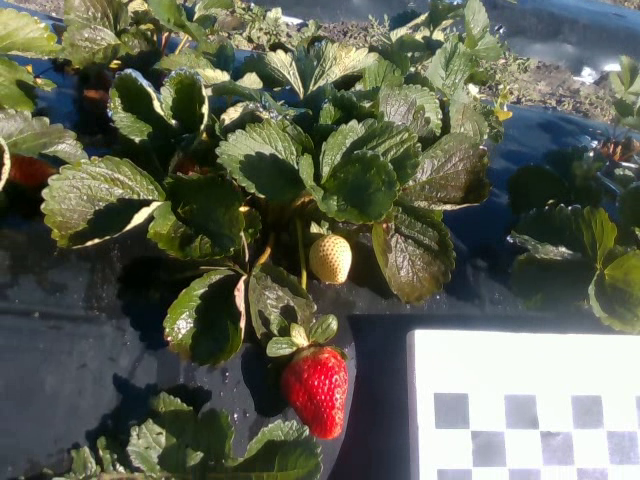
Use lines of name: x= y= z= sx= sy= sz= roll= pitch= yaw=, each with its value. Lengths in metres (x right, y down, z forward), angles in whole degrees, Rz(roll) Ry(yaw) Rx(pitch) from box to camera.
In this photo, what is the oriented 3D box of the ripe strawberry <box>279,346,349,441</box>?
ripe strawberry: x=-0.001 y=0.101 z=0.420 sx=0.048 sy=0.069 sz=0.040 roll=-15 pitch=-18 yaw=-12
